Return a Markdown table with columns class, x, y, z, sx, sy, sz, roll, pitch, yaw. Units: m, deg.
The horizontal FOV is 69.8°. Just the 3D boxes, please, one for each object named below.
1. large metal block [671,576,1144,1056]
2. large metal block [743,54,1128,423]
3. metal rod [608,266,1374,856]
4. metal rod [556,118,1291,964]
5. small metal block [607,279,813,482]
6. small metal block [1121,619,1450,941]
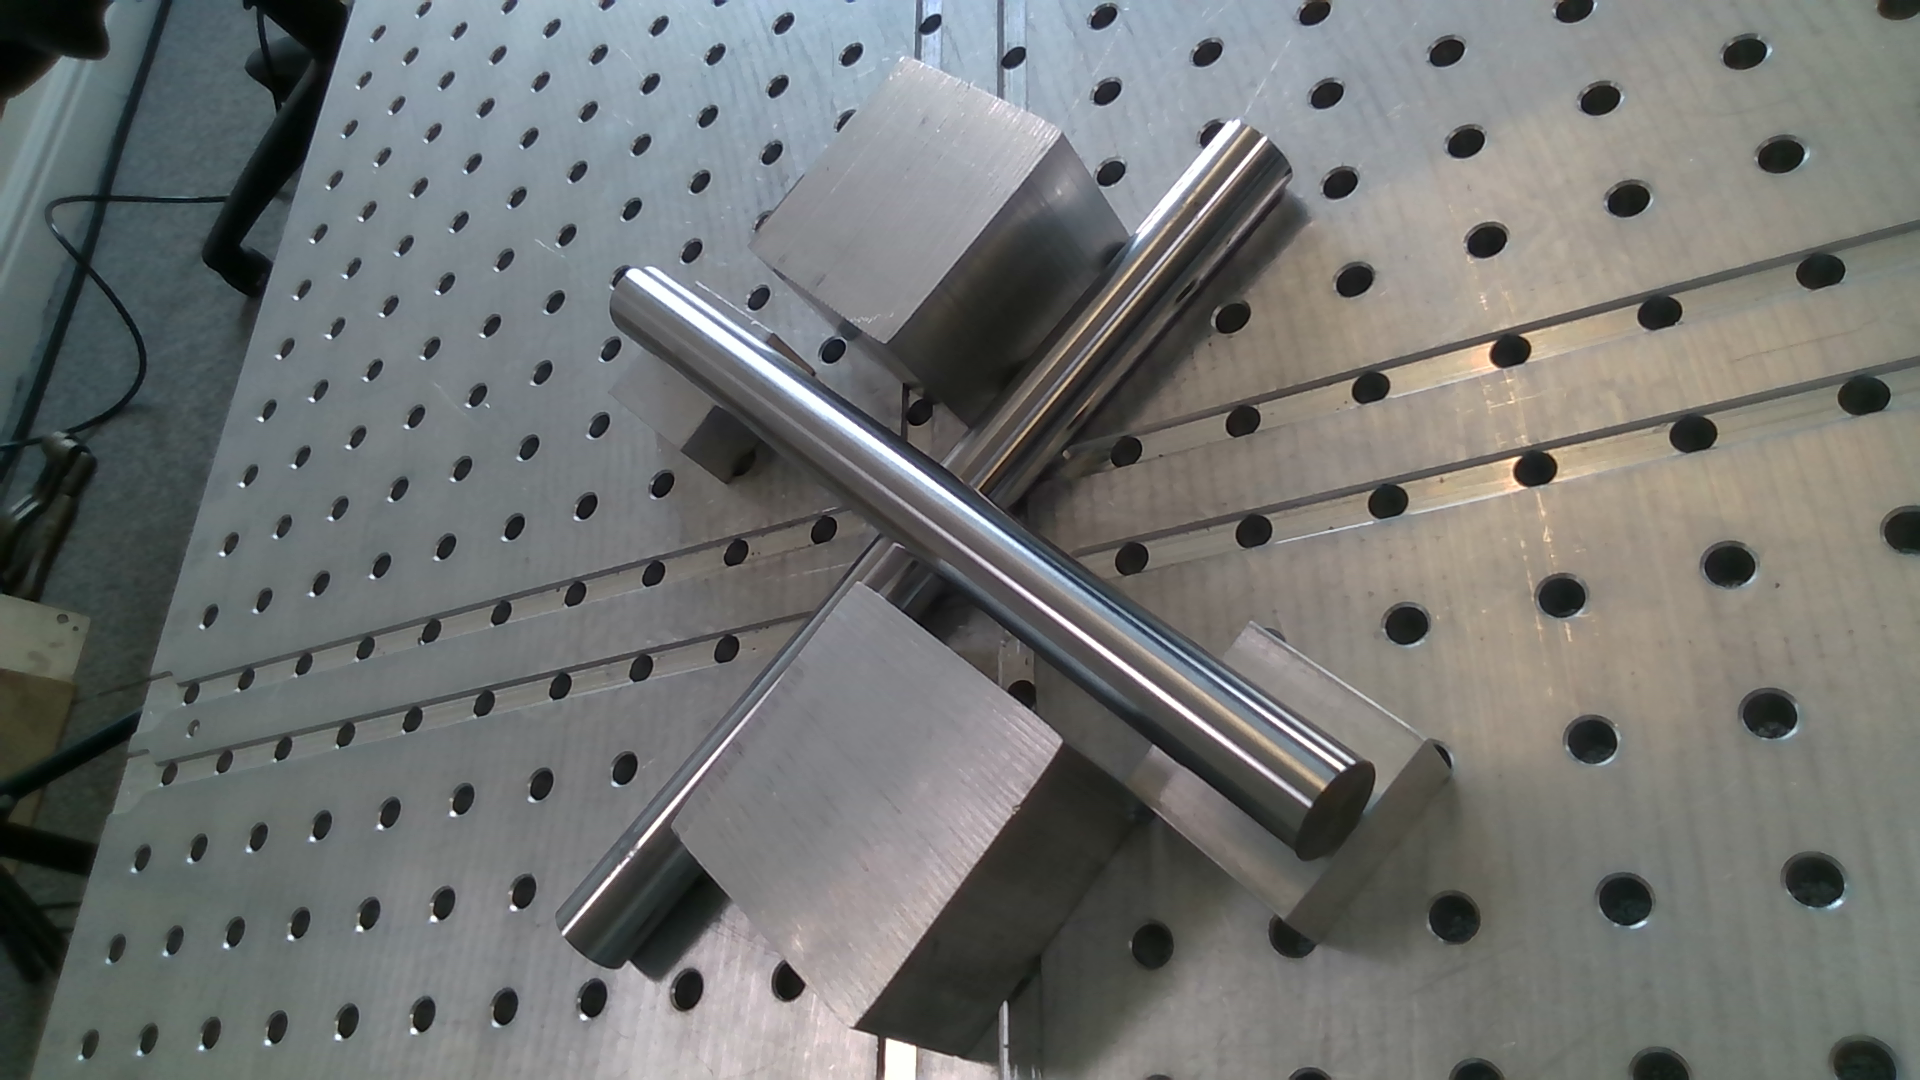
| class | x | y | z | sx | sy | sz | roll | pitch | yaw |
| --- | --- | --- | --- | --- | --- | --- | --- | --- | --- |
| large metal block | -0.013 | 0.069 | 0.351 | 0.080 | 0.050 | 0.080 | 34 | 86 | 39 |
| large metal block | -0.008 | -0.096 | 0.436 | 0.080 | 0.050 | 0.080 | -50 | 51 | -1 |
| metal rod | -0.016 | -0.014 | 0.380 | 0.299 | 0.025 | 0.025 | 36 | 87 | 39 |
| metal rod | -0.010 | 0.000 | 0.401 | 0.300 | 0.025 | 0.025 | -50 | 51 | 0 |
| small metal block | -0.087 | -0.056 | 0.479 | 0.050 | 0.025 | 0.050 | 36 | 87 | 39 |
| small metal block | 0.075 | 0.055 | 0.321 | 0.050 | 0.025 | 0.050 | -51 | 51 | -1 |
